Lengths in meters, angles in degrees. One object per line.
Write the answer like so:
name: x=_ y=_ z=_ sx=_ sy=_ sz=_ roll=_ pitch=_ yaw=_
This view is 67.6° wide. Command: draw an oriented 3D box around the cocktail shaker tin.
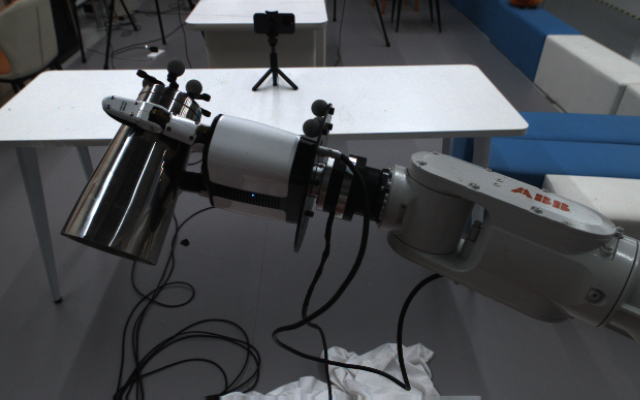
cocktail shaker tin: x=-0.180 y=-0.029 z=0.496 sx=0.093 sy=0.093 sz=0.170 roll=12 pitch=72 yaw=14
